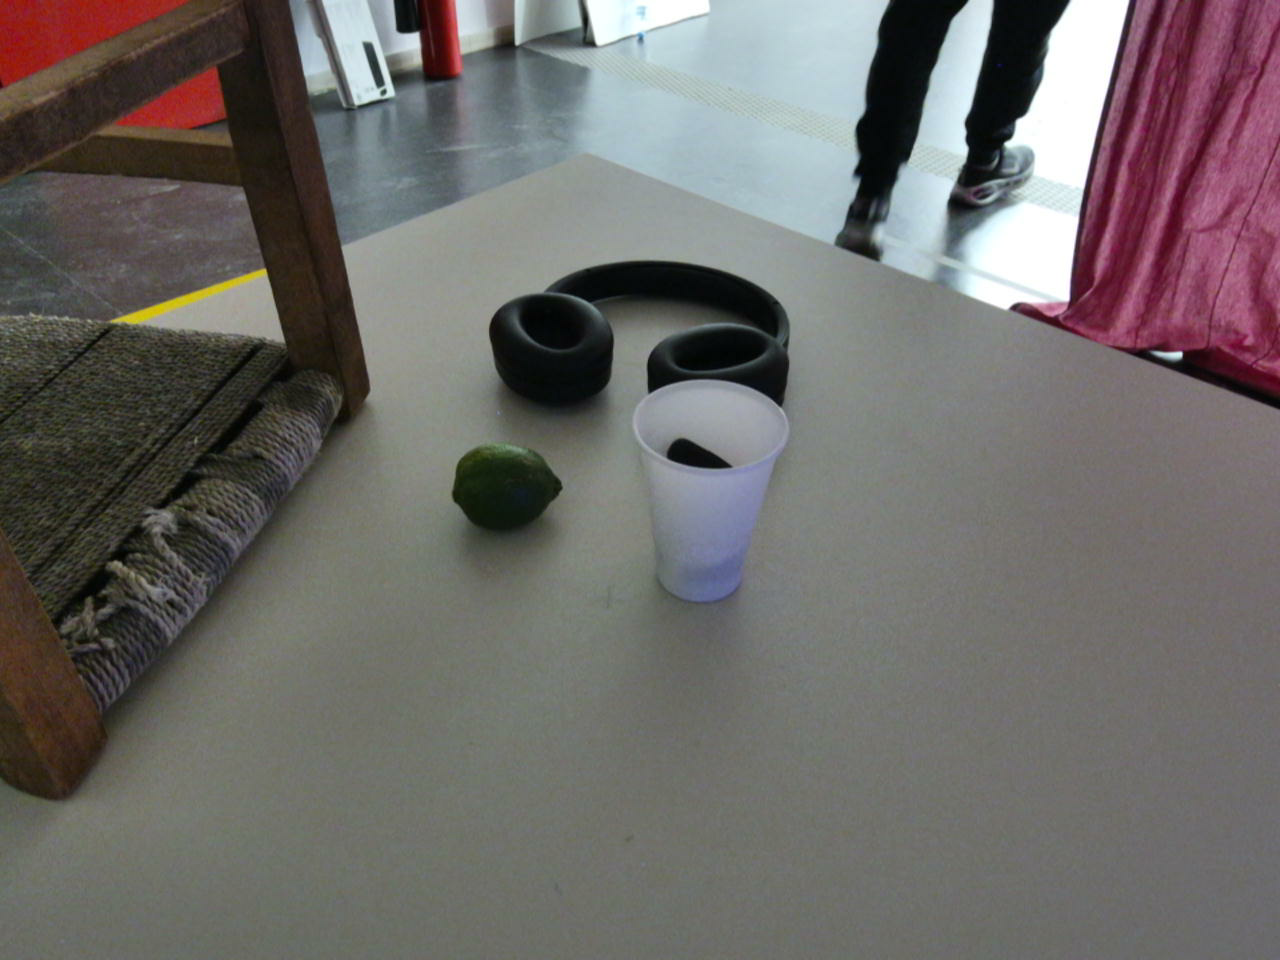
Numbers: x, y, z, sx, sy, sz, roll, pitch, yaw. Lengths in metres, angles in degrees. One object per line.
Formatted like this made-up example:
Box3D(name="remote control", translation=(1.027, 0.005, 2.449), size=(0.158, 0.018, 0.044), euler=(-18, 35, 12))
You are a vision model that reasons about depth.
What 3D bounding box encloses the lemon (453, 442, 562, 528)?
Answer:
Box3D(name="lemon", translation=(-0.080, 0.002, 0.580), size=(0.054, 0.051, 0.057), euler=(26, 44, 29))
